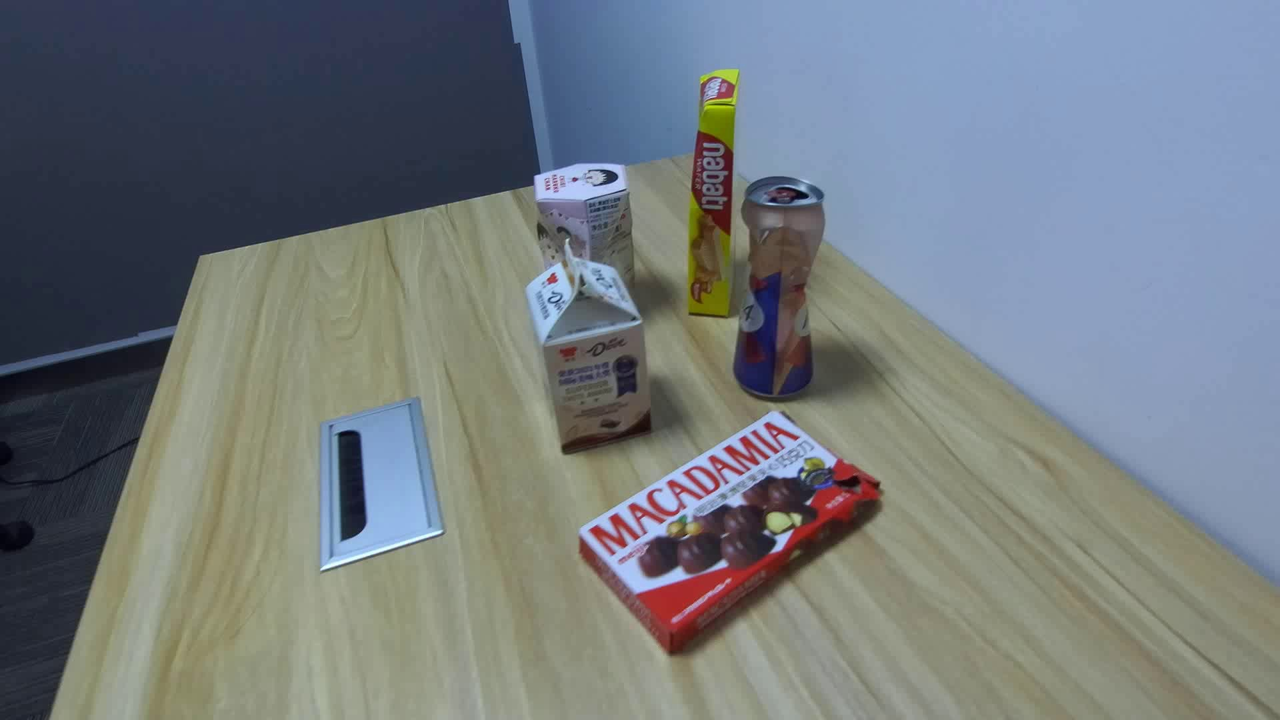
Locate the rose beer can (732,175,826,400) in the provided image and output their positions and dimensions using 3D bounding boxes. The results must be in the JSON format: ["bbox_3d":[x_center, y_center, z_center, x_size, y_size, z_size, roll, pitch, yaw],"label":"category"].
[{"bbox_3d":[0.107,-0.049,0.537,0.065,0.167,0.076,6,36,12],"label":"rose beer can"}]

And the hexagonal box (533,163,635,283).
[{"bbox_3d":[-0.047,-0.106,0.655,0.093,0.135,0.088,-32,44,-30],"label":"hexagonal box"}]

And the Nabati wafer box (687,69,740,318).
[{"bbox_3d":[0.066,-0.145,0.634,0.042,0.204,0.096,5,41,10],"label":"Nabati wafer box"}]

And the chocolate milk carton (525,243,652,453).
[{"bbox_3d":[-0.038,-0.014,0.517,0.074,0.148,0.075,-14,39,-10],"label":"chocolate milk carton"}]

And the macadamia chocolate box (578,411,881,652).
[{"bbox_3d":[0.063,0.100,0.458,0.187,0.027,0.102,-28,44,-27],"label":"macadamia chocolate box"}]
